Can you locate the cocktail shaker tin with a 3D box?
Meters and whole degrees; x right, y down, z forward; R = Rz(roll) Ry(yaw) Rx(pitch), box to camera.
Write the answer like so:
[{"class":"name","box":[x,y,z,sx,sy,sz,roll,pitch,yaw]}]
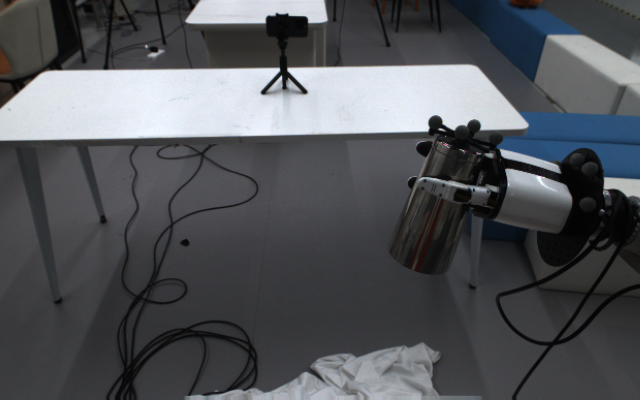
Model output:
[{"class":"cocktail shaker tin","box":[0.162,0.000,0.651,0.093,0.170,0.093,12,25,-6]}]
